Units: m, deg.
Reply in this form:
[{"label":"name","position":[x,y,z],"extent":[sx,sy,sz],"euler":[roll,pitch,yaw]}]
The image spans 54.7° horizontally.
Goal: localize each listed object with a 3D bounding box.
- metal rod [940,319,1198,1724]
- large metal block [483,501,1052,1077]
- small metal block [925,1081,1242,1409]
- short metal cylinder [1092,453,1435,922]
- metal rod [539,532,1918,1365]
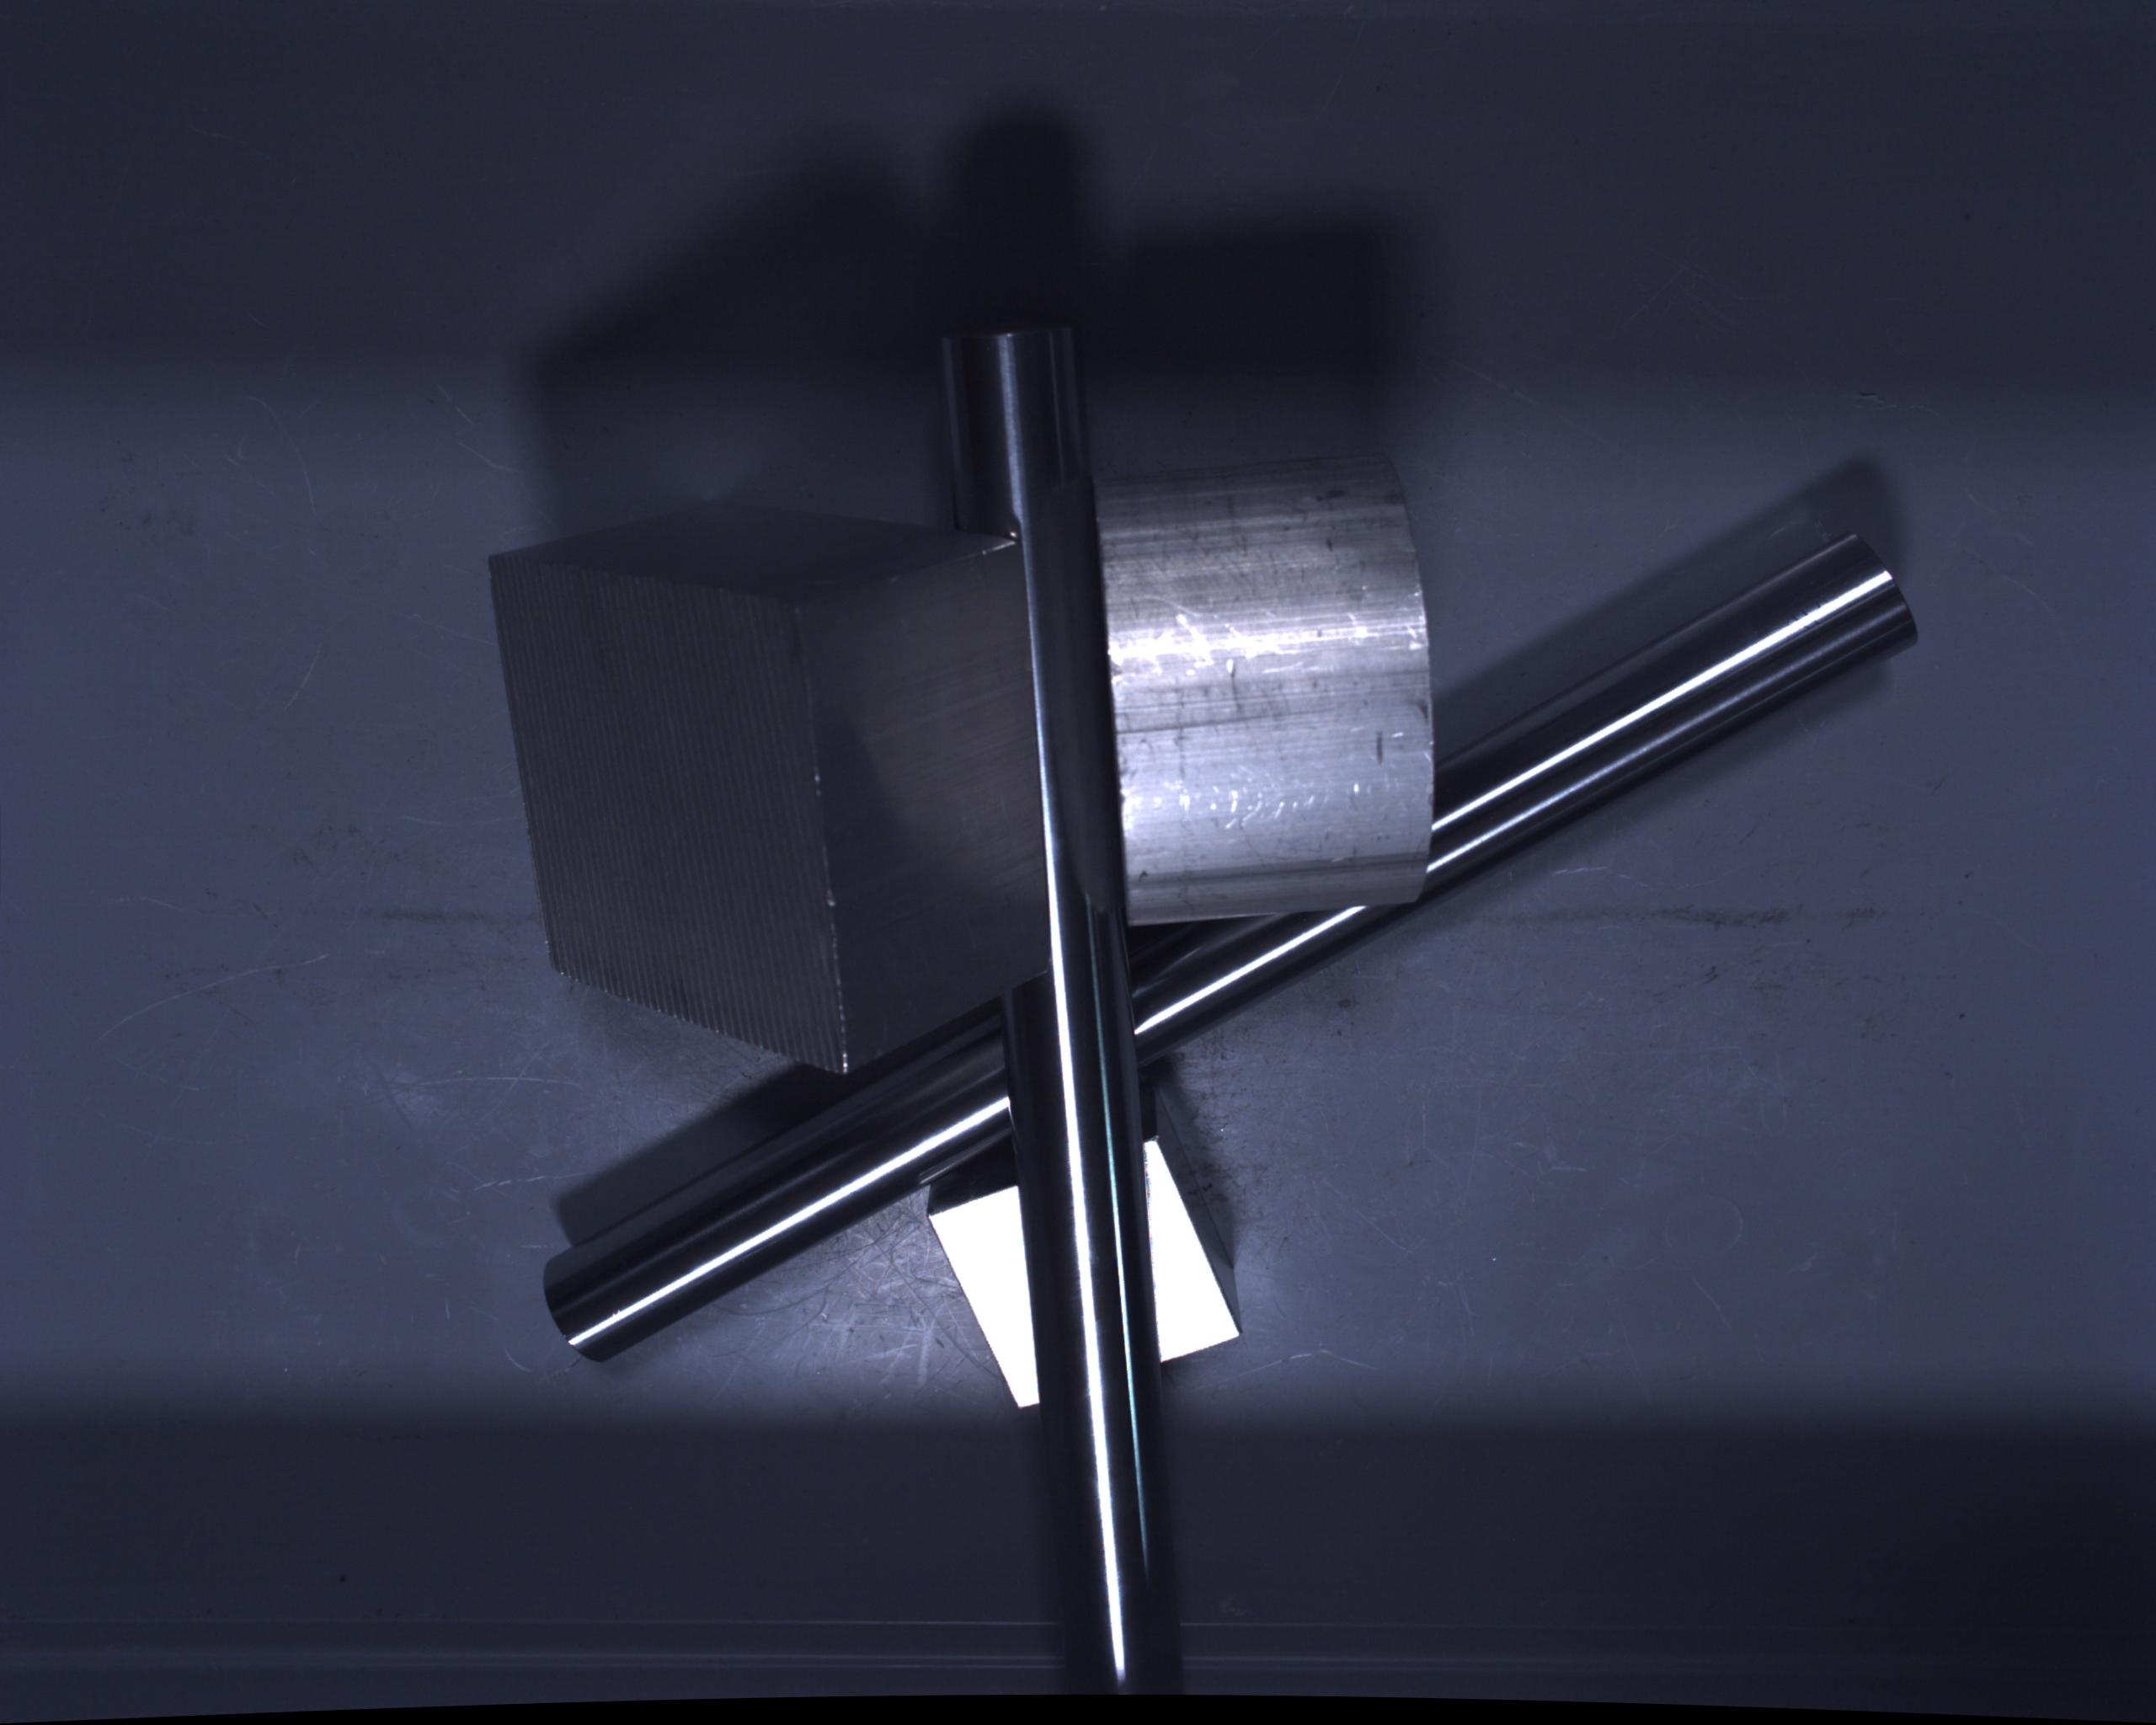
[{"label":"metal rod","position":[0.001,0.050,0.400],"extent":[0.025,0.025,0.298],"euler":[-5,109,1]},{"label":"large metal block","position":[-0.054,-0.017,0.369],"extent":[0.080,0.050,0.079],"euler":[13,116,38]},{"label":"small metal block","position":[0.002,0.081,0.439],"extent":[0.050,0.025,0.050],"euler":[-20,109,7]},{"label":"short metal cylinder","position":[0.030,-0.031,0.369],"extent":[0.050,0.080,0.079],"euler":[-5,110,0]},{"label":"metal rod","position":[0.022,0.022,0.417],"extent":[0.300,0.025,0.025],"euler":[-30,108,10]}]
